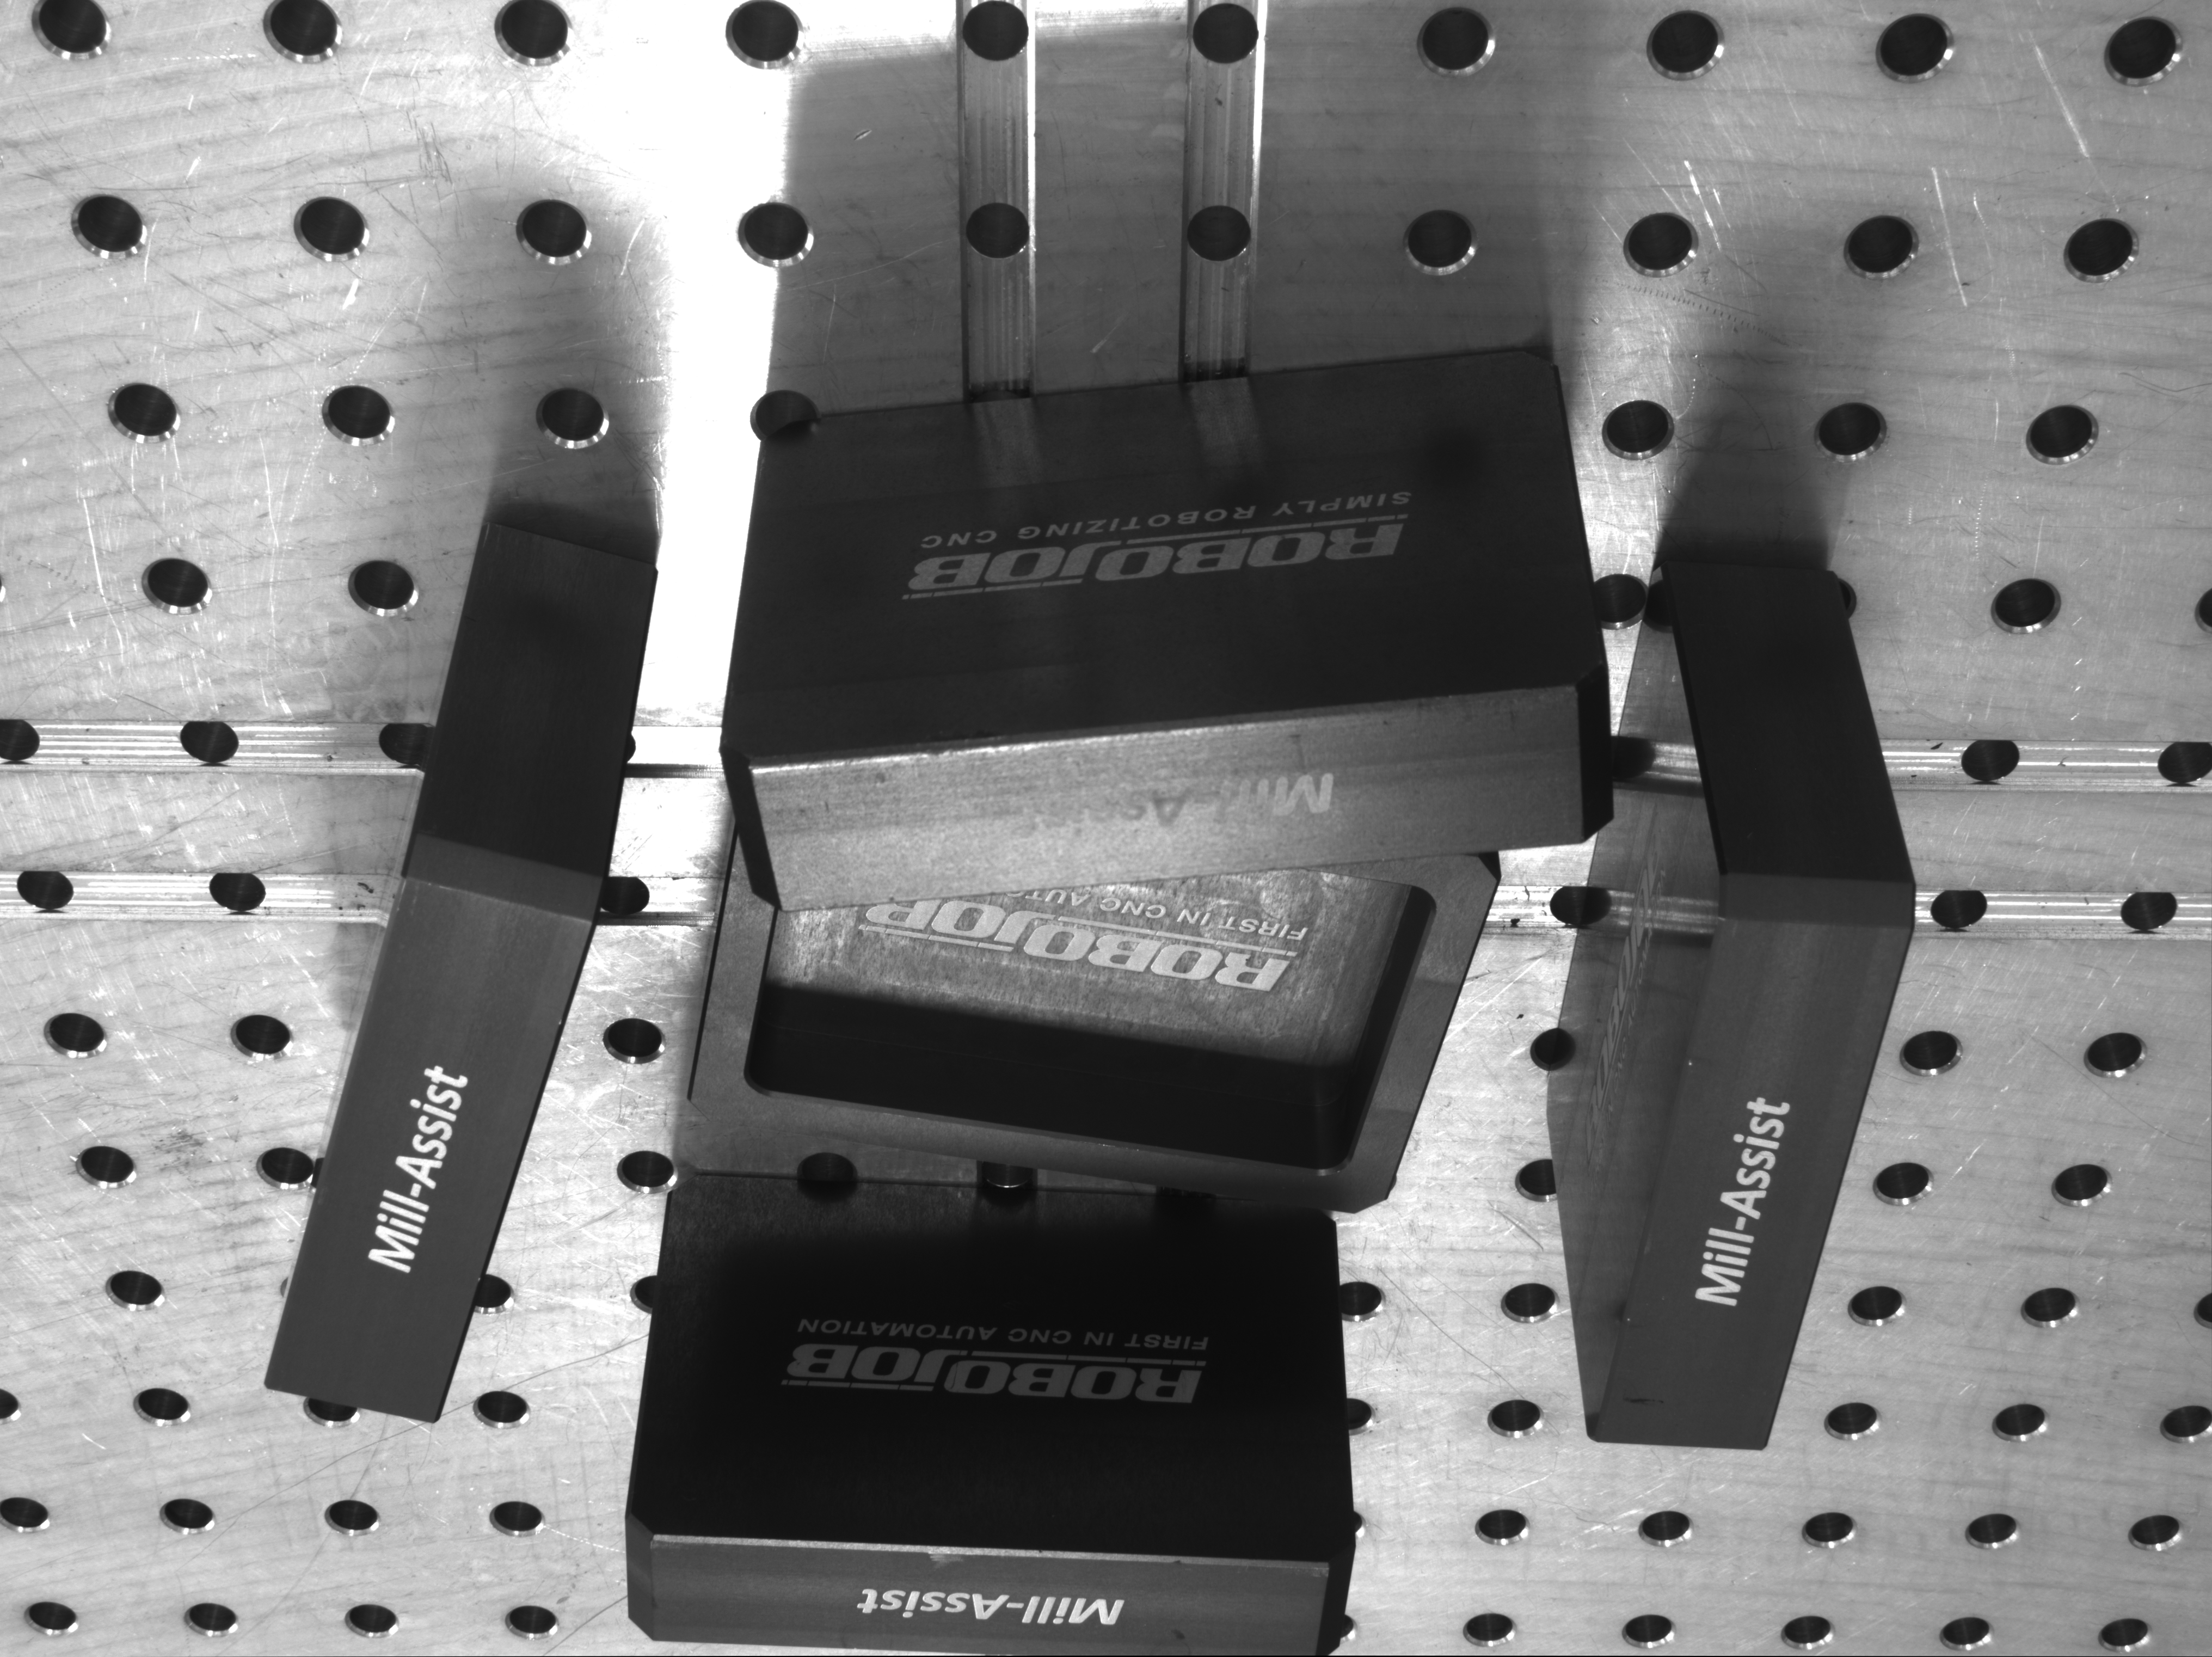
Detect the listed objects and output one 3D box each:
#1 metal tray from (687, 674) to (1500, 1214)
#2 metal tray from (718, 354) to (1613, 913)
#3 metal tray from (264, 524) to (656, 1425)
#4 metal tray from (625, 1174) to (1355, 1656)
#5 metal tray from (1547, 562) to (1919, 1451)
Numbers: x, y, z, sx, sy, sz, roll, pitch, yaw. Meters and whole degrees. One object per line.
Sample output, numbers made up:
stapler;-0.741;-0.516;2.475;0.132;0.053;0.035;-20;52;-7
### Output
metal tray;-0.004;0.020;0.655;0.130;0.030;0.090;8;129;-7
metal tray;0.010;-0.032;0.573;0.130;0.090;0.030;-5;130;4
metal tray;-0.110;0.026;0.622;0.030;0.090;0.130;14;128;-11
metal tray;-0.021;0.110;0.693;0.130;0.090;0.030;3;130;-2
metal tray;0.103;0.031;0.627;0.030;0.090;0.130;3;130;-3
